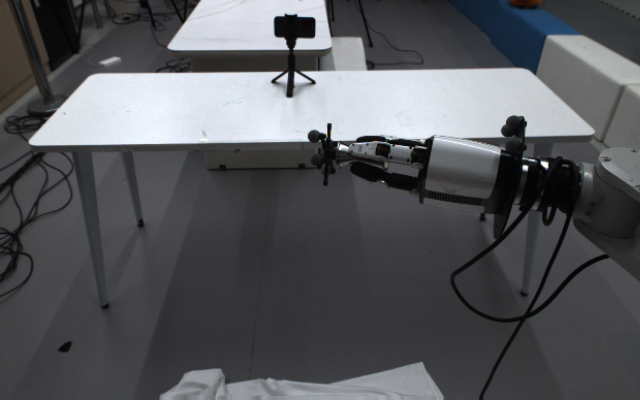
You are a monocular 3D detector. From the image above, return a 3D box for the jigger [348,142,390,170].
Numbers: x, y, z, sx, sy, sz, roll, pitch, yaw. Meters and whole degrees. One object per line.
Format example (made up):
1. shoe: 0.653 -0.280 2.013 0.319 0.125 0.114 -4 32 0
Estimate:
1. jigger: 0.067 -0.067 0.676 0.071 0.043 0.043 2 34 16
